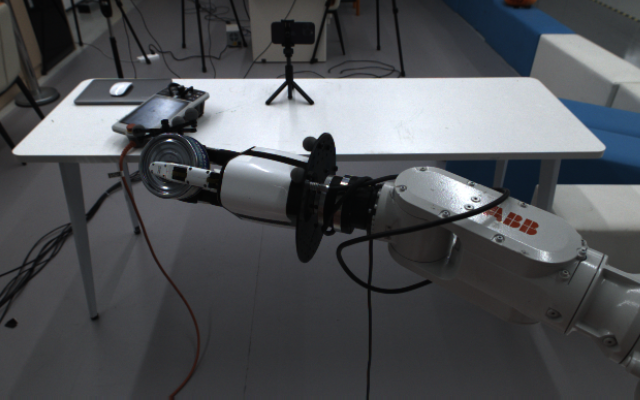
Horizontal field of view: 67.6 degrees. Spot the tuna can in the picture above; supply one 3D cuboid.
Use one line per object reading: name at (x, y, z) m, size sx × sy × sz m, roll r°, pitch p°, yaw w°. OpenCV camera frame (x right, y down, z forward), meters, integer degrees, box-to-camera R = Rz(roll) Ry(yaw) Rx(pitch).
tuna can at (-0.185, -0.037, 0.622) m, size 0.085 × 0.085 × 0.034 m, roll 12°, pitch 3°, yaw 14°
